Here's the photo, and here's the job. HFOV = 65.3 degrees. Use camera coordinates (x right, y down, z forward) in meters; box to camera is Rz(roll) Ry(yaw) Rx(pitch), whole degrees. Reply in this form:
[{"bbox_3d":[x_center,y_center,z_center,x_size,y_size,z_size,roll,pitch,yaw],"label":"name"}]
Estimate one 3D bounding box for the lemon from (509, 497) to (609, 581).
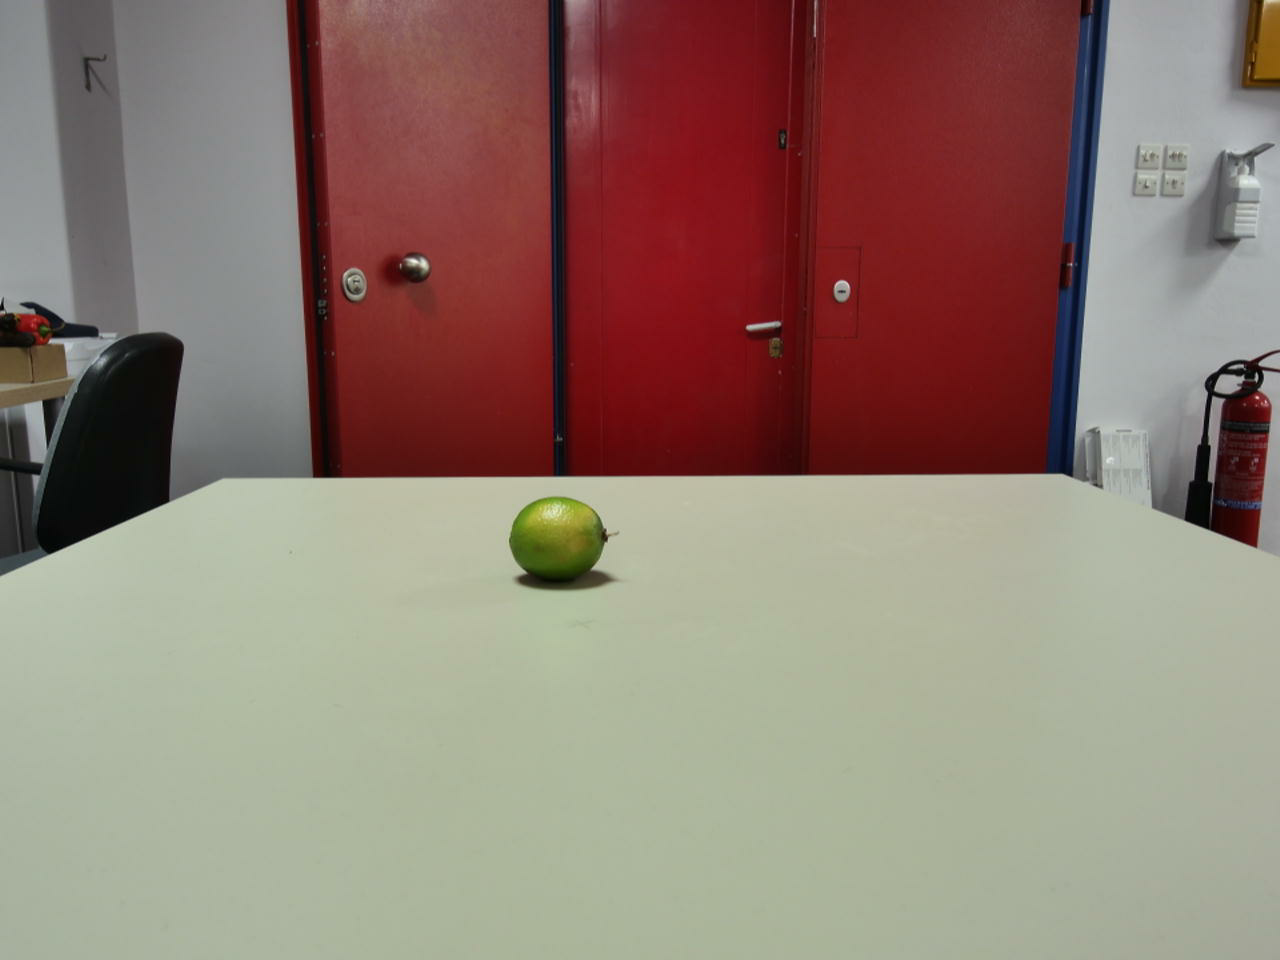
[{"bbox_3d":[-0.050,0.035,0.609,0.054,0.050,0.055,-8,10,-40],"label":"lemon"}]
